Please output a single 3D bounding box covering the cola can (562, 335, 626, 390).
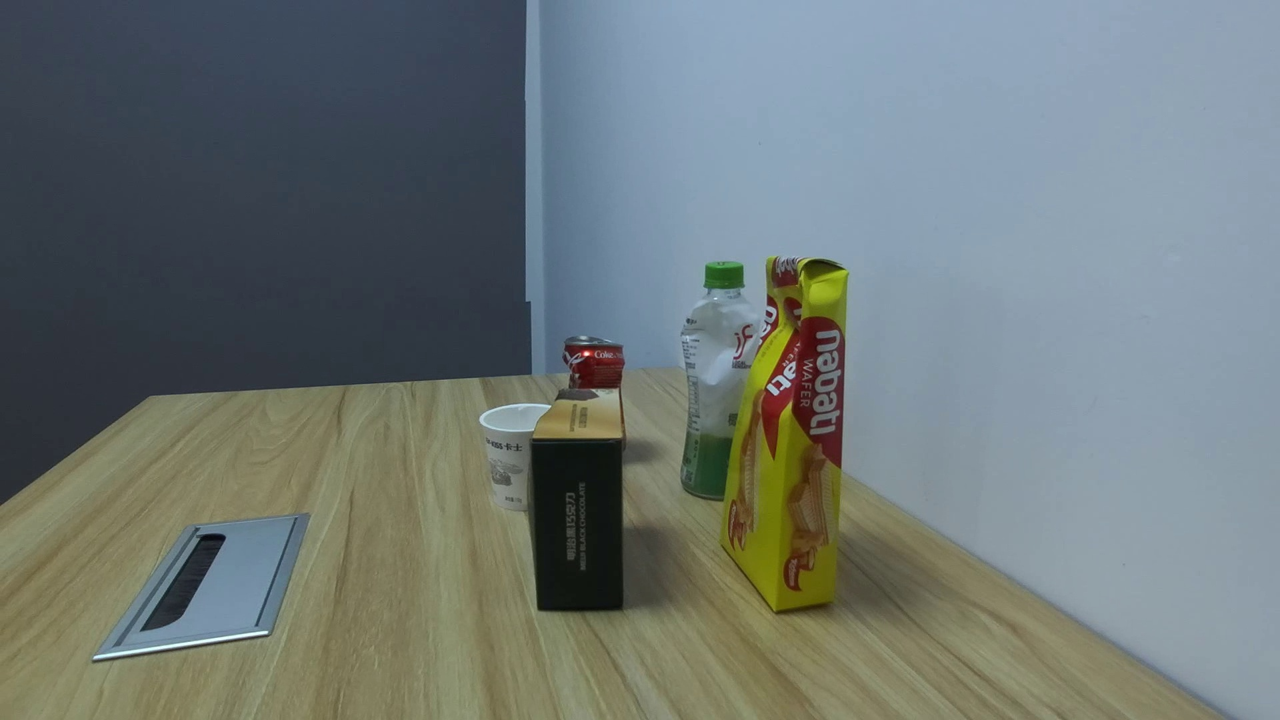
[{"bbox_3d":[-0.044,0.036,0.656,0.065,0.112,0.069,2,12,4],"label":"cola can"}]

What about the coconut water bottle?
[{"bbox_3d":[0.068,0.016,0.574,0.069,0.187,0.069,2,12,0],"label":"coconut water bottle"}]

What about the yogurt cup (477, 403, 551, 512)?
[{"bbox_3d":[-0.101,0.079,0.618,0.072,0.068,0.072,0,12,0],"label":"yogurt cup"}]

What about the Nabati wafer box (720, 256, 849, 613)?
[{"bbox_3d":[0.090,0.040,0.440,0.043,0.205,0.113,-1,12,-13],"label":"Nabati wafer box"}]
